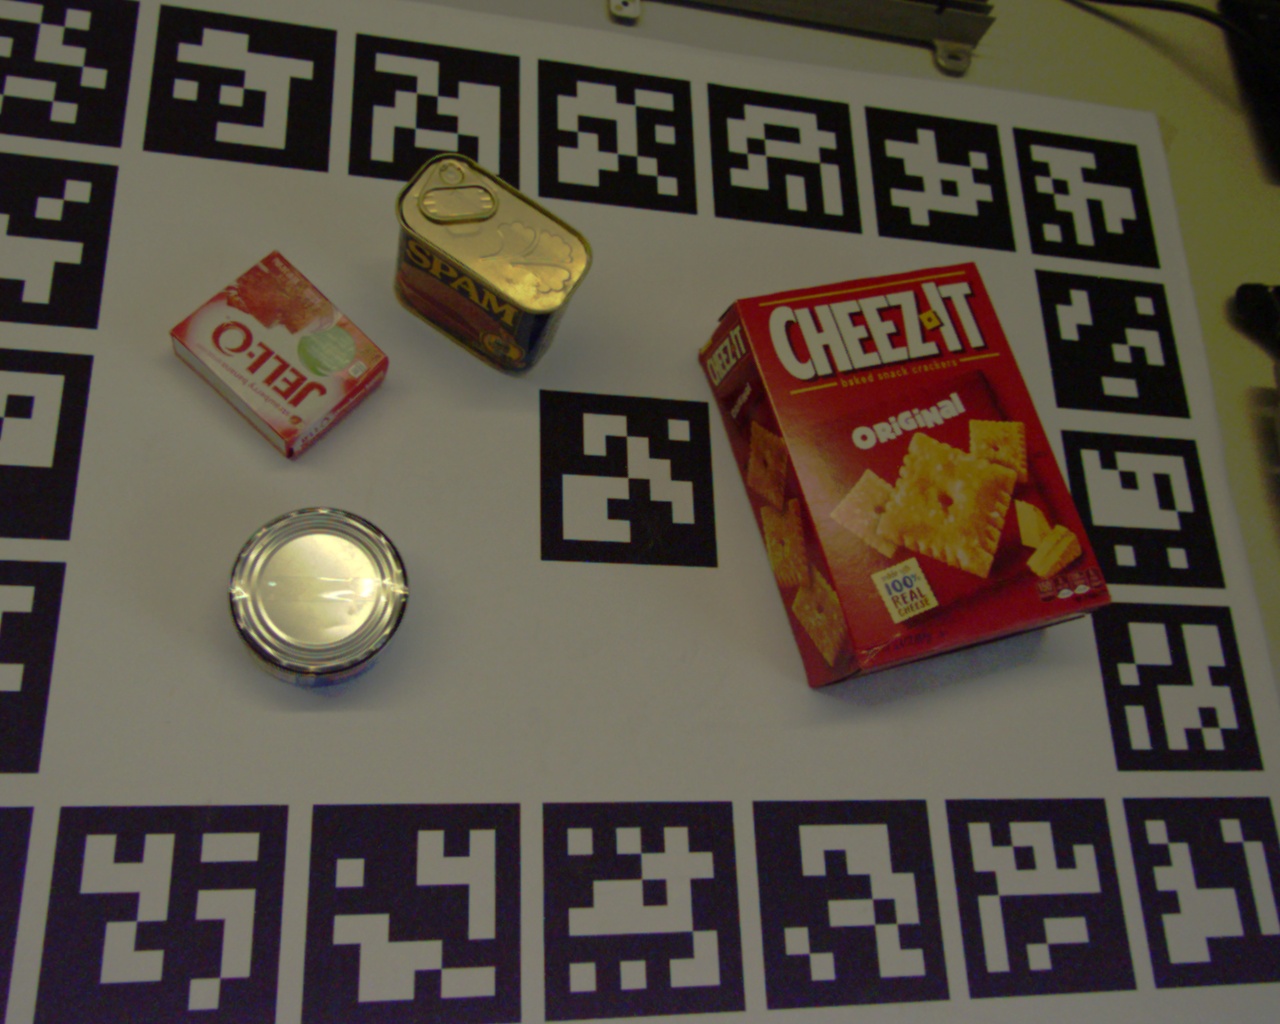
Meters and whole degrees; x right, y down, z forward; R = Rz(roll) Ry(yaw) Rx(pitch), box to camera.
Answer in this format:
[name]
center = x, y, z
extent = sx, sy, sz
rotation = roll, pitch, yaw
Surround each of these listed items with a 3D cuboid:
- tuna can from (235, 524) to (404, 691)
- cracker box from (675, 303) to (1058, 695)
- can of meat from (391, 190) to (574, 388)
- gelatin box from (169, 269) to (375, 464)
[tuna can]
center = -0.170, 0.052, 0.608
extent = 0.085, 0.034, 0.086
rotation = 4, 73, -13
[cracker box]
center = 0.138, -0.014, 0.705
extent = 0.163, 0.072, 0.214
rotation = -13, 73, -21
[can of meat]
center = -0.098, -0.128, 0.678
extent = 0.102, 0.084, 0.057
rotation = 31, 65, -2
[gelatin box]
center = -0.209, -0.084, 0.652
extent = 0.089, 0.030, 0.073
rotation = 43, 62, 0
